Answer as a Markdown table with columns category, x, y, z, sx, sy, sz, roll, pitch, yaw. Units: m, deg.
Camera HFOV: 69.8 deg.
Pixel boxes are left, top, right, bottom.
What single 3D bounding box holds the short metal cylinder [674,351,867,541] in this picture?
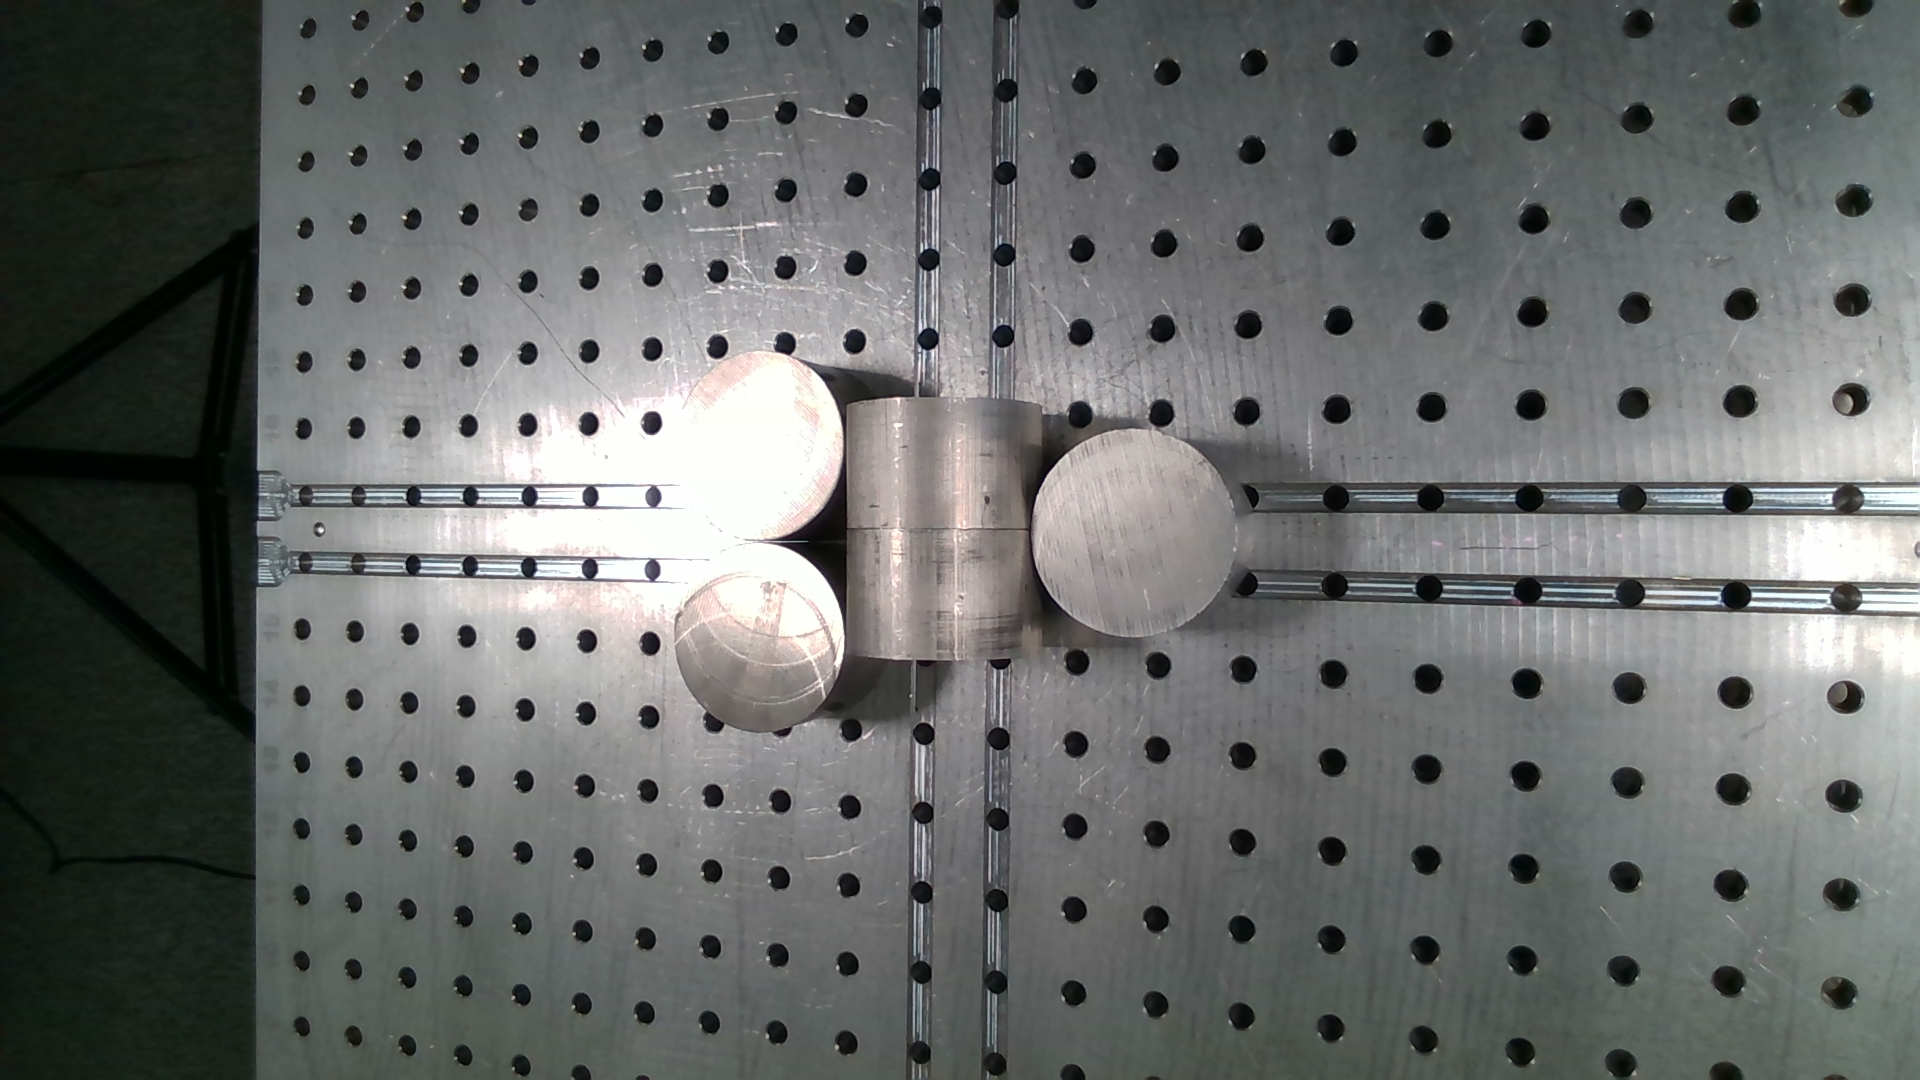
| category | x | y | z | sx | sy | sz | roll | pitch | yaw |
| --- | --- | --- | --- | --- | --- | --- | --- | --- | --- |
| short metal cylinder | -0.077 | -0.039 | 0.602 | 0.080 | 0.050 | 0.080 | 0 | 90 | 20 |

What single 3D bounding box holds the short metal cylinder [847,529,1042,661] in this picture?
| category | x | y | z | sx | sy | sz | roll | pitch | yaw |
| --- | --- | --- | --- | --- | --- | --- | --- | --- | --- |
| short metal cylinder | -0.006 | 0.021 | 0.562 | 0.080 | 0.080 | 0.050 | 0 | 90 | 20 |

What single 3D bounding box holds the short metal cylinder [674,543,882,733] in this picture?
| category | x | y | z | sx | sy | sz | roll | pitch | yaw |
| --- | --- | --- | --- | --- | --- | --- | --- | --- | --- |
| short metal cylinder | -0.077 | 0.041 | 0.602 | 0.080 | 0.050 | 0.080 | 0 | 90 | 20 |

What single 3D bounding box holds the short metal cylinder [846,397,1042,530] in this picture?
| category | x | y | z | sx | sy | sz | roll | pitch | yaw |
| --- | --- | --- | --- | --- | --- | --- | --- | --- | --- |
| short metal cylinder | -0.007 | -0.029 | 0.561 | 0.080 | 0.080 | 0.050 | 0 | 90 | 20 |

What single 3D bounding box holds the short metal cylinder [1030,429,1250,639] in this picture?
| category | x | y | z | sx | sy | sz | roll | pitch | yaw |
| --- | --- | --- | --- | --- | --- | --- | --- | --- | --- |
| short metal cylinder | 0.074 | -0.002 | 0.547 | 0.080 | 0.050 | 0.080 | 0 | 90 | 20 |
